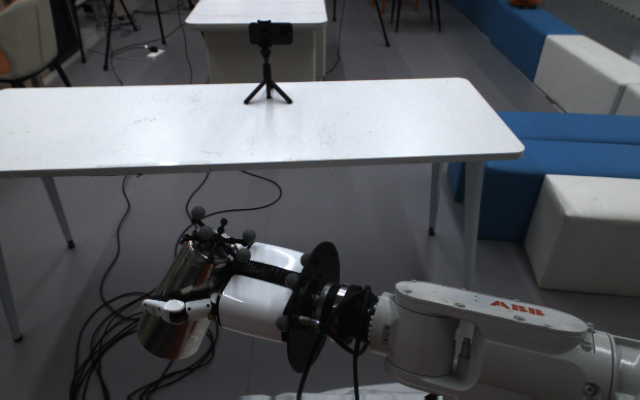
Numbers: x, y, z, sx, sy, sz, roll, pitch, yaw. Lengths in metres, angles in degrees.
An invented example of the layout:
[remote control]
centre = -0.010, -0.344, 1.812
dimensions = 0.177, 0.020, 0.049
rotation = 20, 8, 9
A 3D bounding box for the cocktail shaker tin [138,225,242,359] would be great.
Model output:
[cocktail shaker tin]
centre = -0.169, 0.117, 0.640
dimensions = 0.093, 0.170, 0.093
rotation = 25, 29, -15
